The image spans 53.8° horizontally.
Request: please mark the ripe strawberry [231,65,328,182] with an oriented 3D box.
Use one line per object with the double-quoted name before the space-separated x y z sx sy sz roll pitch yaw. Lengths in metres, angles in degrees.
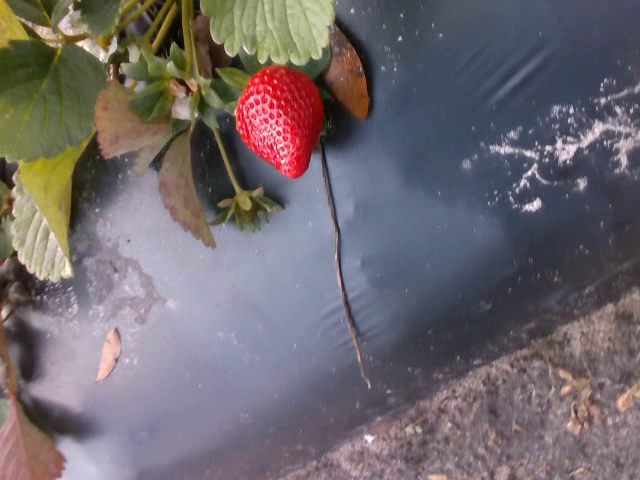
"ripe strawberry" -0.017 -0.048 0.285 0.049 0.053 0.050 18 -45 -44
